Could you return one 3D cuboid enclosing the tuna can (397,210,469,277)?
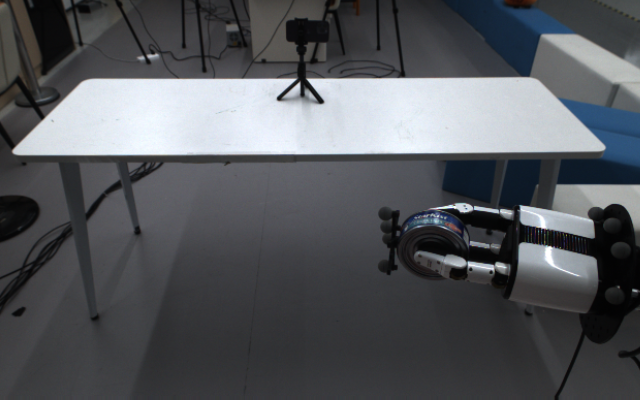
[{"bbox_3d":[0.140,0.051,0.591,0.085,0.085,0.034,9,31,10],"label":"tuna can"}]
